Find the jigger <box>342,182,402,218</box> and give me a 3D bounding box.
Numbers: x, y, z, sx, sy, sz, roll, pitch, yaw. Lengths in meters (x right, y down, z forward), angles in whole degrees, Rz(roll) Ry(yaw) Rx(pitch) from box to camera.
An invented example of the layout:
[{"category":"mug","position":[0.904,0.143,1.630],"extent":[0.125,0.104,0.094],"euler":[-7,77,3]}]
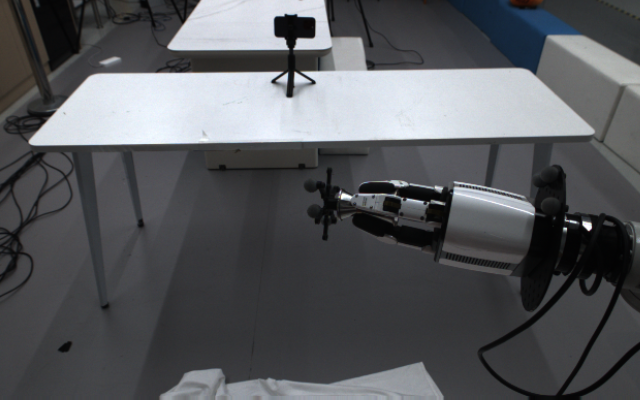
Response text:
[{"category":"jigger","position":[0.065,0.003,0.576],"extent":[0.071,0.043,0.043],"euler":[2,33,17]}]
